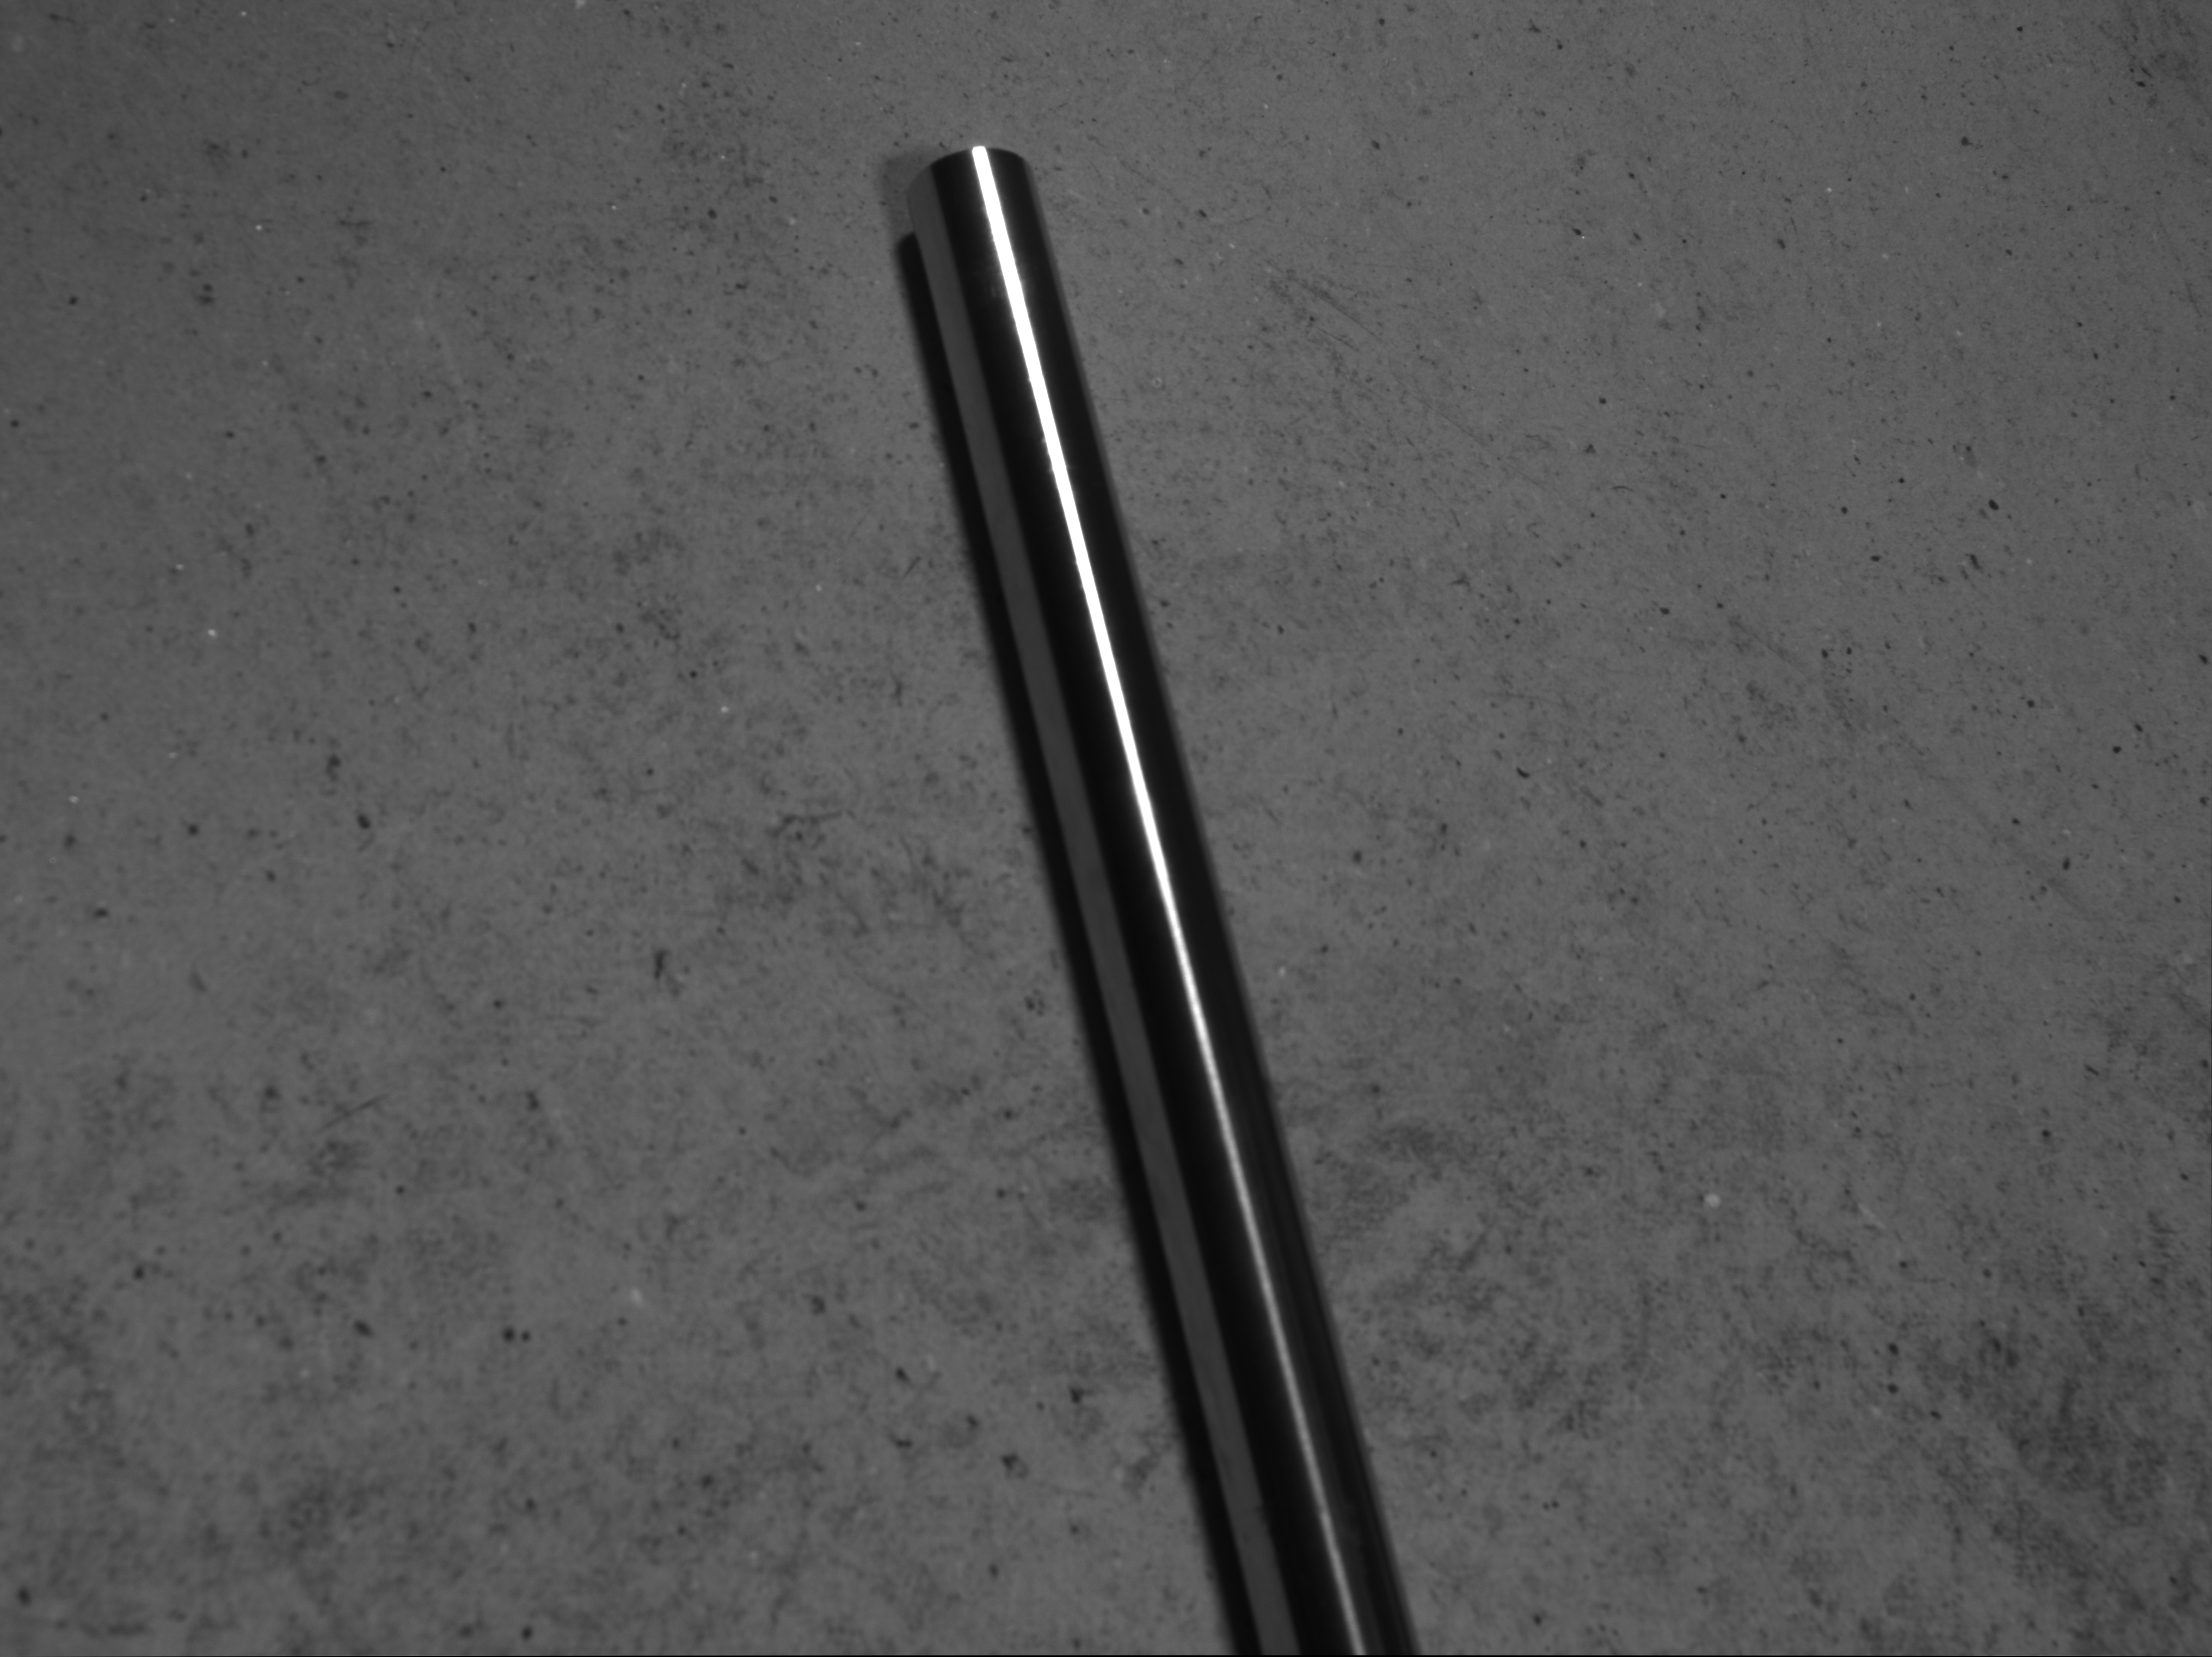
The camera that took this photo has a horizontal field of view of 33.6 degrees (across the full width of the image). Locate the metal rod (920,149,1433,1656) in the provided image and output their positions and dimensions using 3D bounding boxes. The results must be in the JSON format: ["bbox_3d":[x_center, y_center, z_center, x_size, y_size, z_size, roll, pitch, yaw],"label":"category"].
[{"bbox_3d":[0.009,0.009,0.639,0.025,0.025,0.300,0,61,-28],"label":"metal rod"}]
